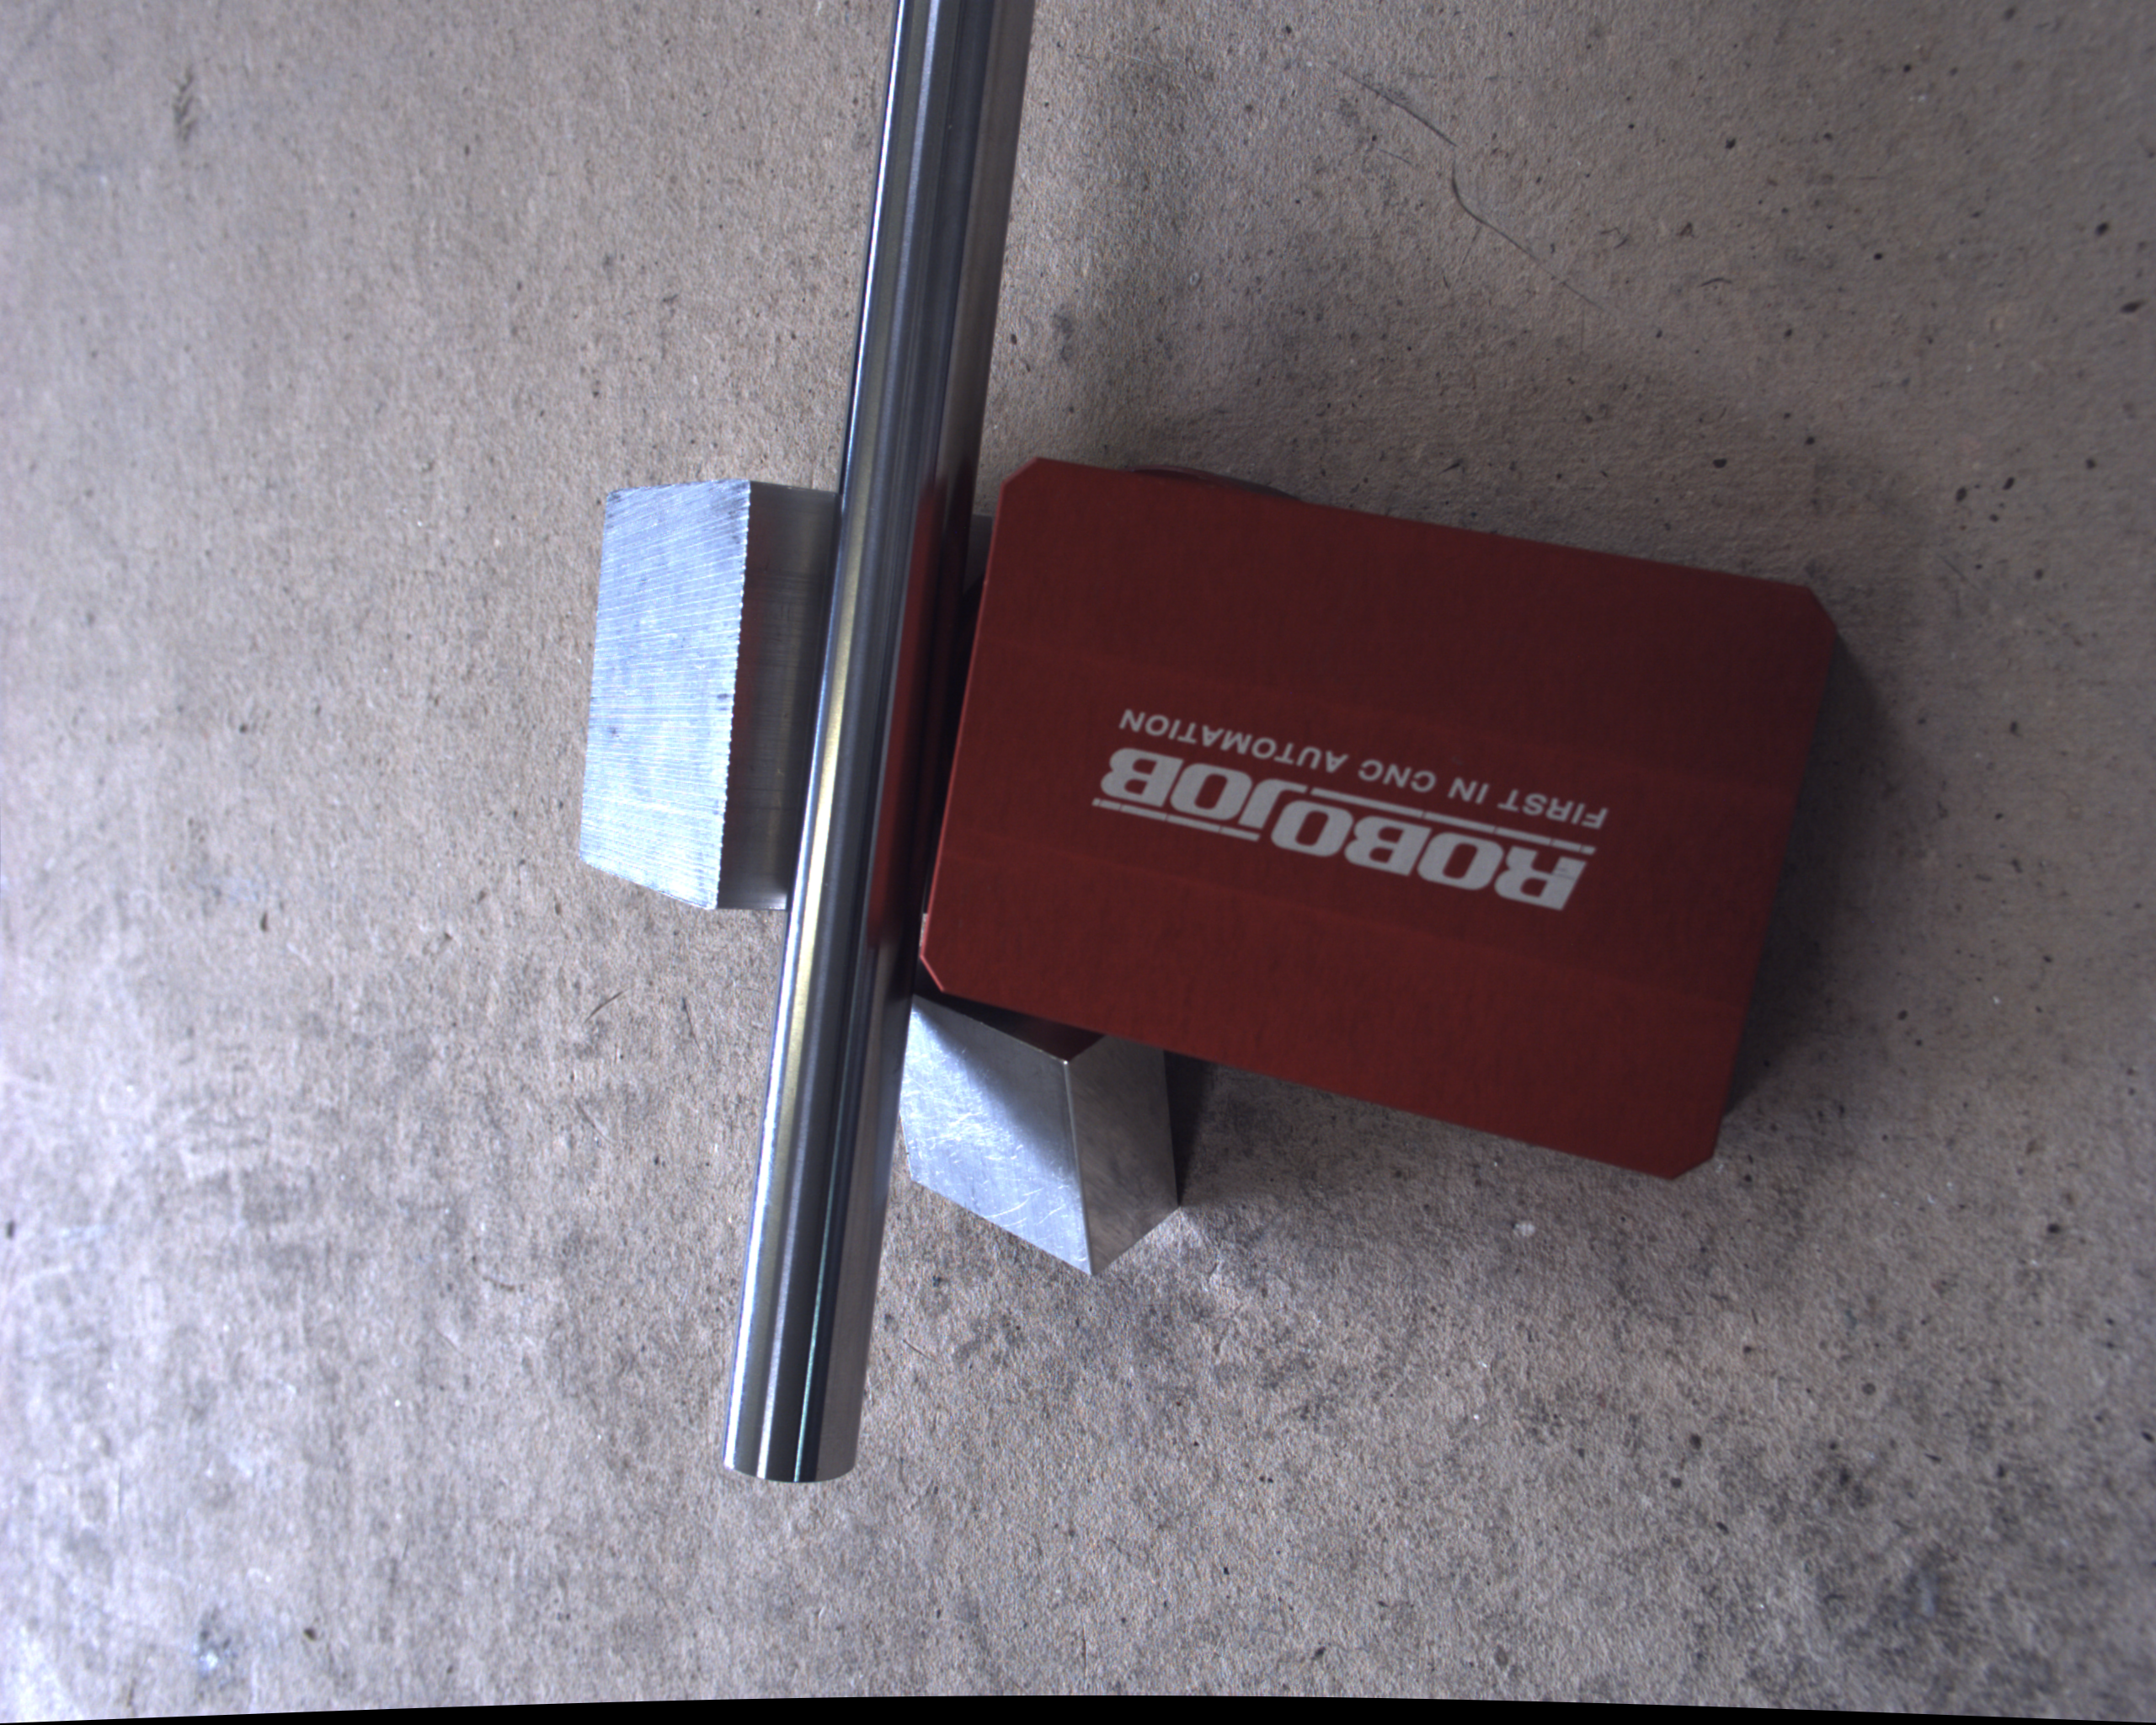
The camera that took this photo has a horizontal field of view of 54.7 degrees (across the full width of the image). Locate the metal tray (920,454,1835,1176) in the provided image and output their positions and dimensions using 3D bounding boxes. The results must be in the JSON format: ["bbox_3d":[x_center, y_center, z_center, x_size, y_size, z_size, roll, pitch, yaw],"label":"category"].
[{"bbox_3d":[0.046,-0.011,0.337,0.130,0.030,0.089,13,100,18],"label":"metal tray"}]

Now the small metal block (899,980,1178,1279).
[{"bbox_3d":[-0.010,0.044,0.402,0.050,0.025,0.050,20,129,38],"label":"small metal block"}]

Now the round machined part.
[{"bbox_3d":[0.010,-0.025,0.387,0.098,0.042,0.097,0,90,40],"label":"round machined part"}]

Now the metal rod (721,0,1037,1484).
[{"bbox_3d":[-0.035,-0.036,0.381,0.025,0.025,0.298,10,94,39],"label":"metal rod"}]

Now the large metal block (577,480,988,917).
[{"bbox_3d":[-0.062,-0.034,0.427,0.080,0.050,0.079,13,99,57],"label":"large metal block"}]
